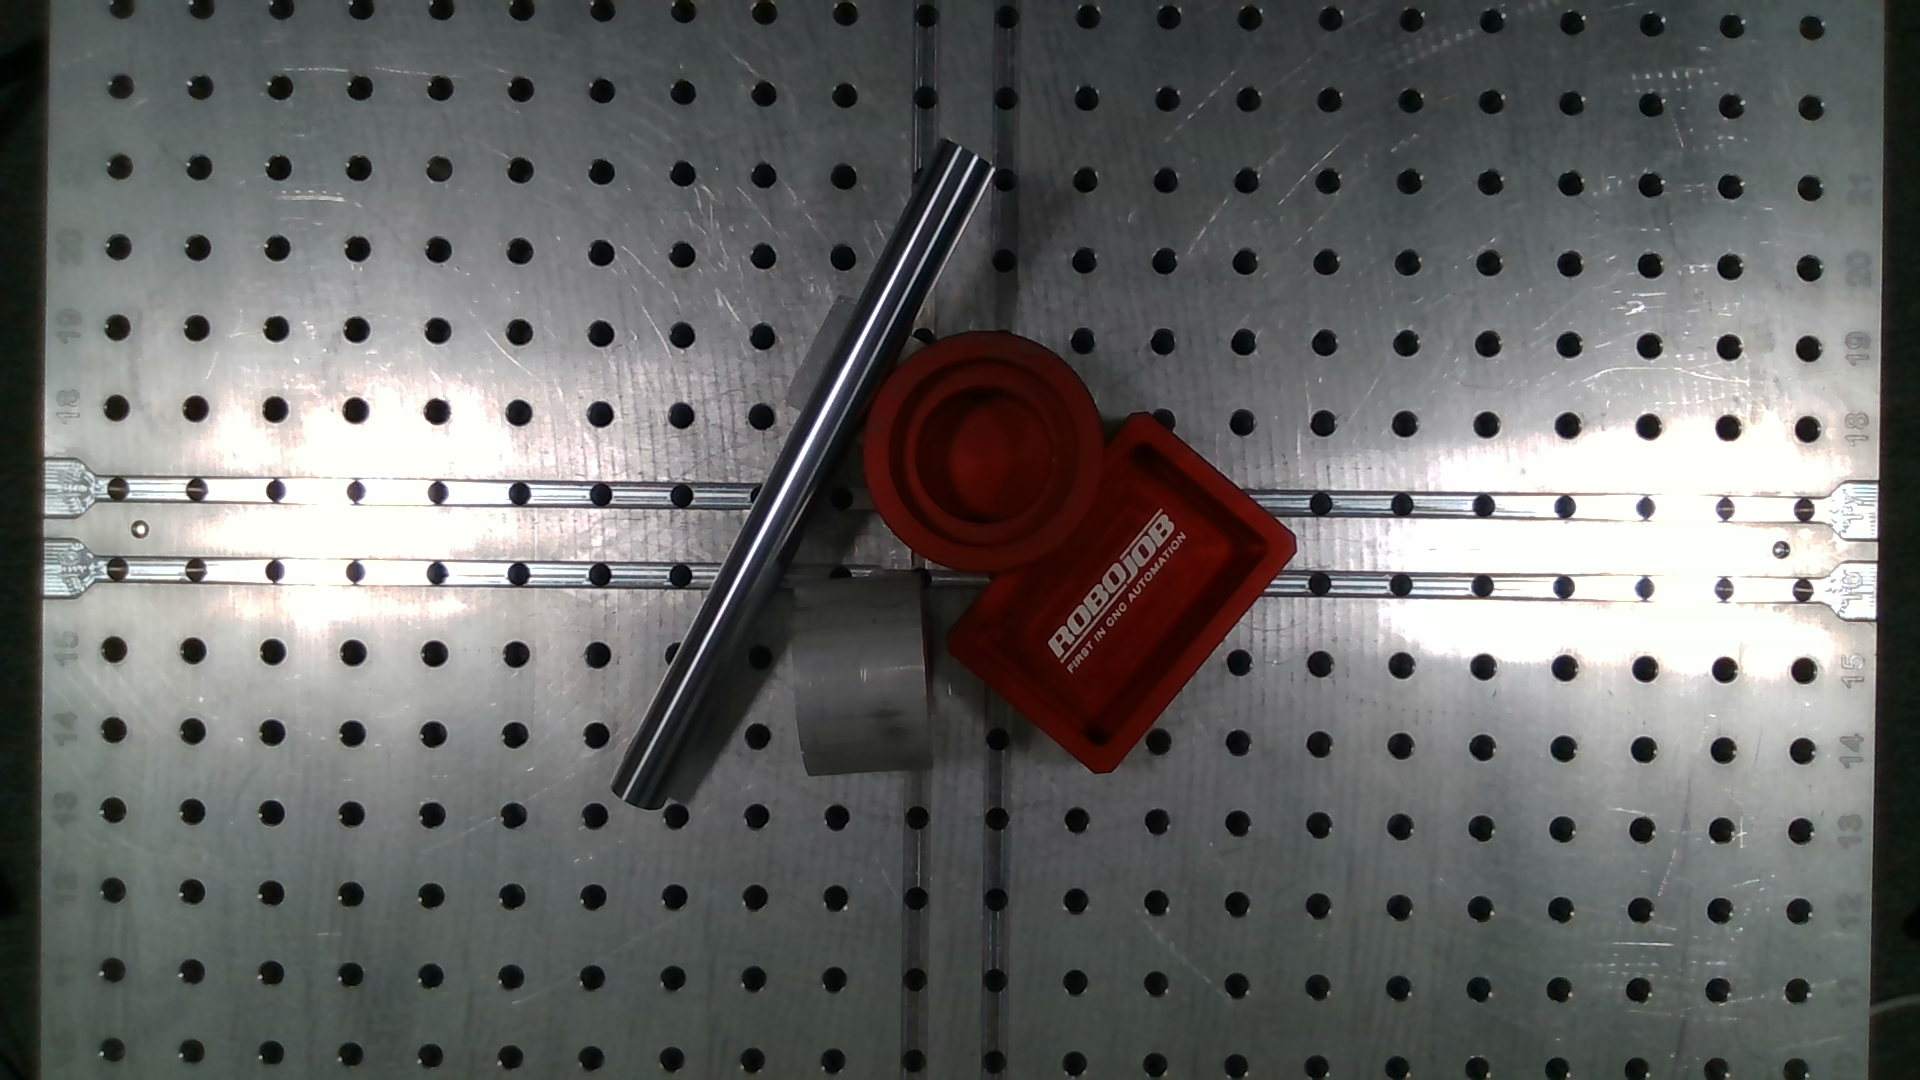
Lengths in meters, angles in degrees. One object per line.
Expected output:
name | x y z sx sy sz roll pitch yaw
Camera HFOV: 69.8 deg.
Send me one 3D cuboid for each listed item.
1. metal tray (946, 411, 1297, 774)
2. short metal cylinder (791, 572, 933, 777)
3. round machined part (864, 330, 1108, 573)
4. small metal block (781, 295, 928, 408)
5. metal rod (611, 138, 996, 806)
metal tray | 0.067 0.022 0.586 0.090 0.030 0.130 40 90 -1
short metal cylinder | -0.038 0.054 0.561 0.050 0.080 0.080 -4 90 0
round machined part | 0.010 -0.035 0.573 0.098 0.042 0.098 0 88 0
small metal block | -0.041 -0.069 0.589 0.050 0.025 0.050 28 90 0
metal rod | -0.068 -0.023 0.569 0.025 0.025 0.300 29 99 0
